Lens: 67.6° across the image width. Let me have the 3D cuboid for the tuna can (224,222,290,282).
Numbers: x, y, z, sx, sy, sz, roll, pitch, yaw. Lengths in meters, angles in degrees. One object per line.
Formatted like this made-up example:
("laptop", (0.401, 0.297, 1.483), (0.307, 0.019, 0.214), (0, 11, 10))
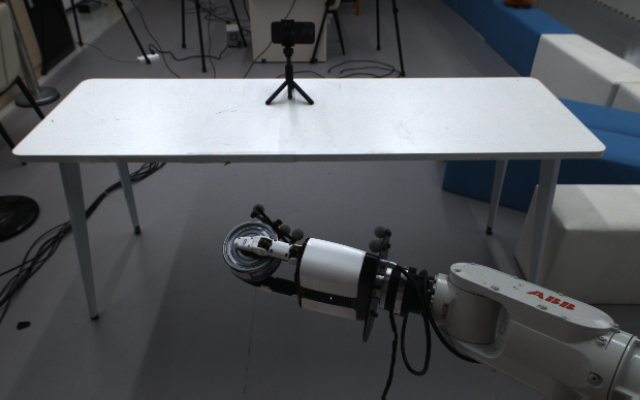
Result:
("tuna can", (-0.096, 0.081, 0.712), (0.085, 0.034, 0.085), (-4, 57, 6))
